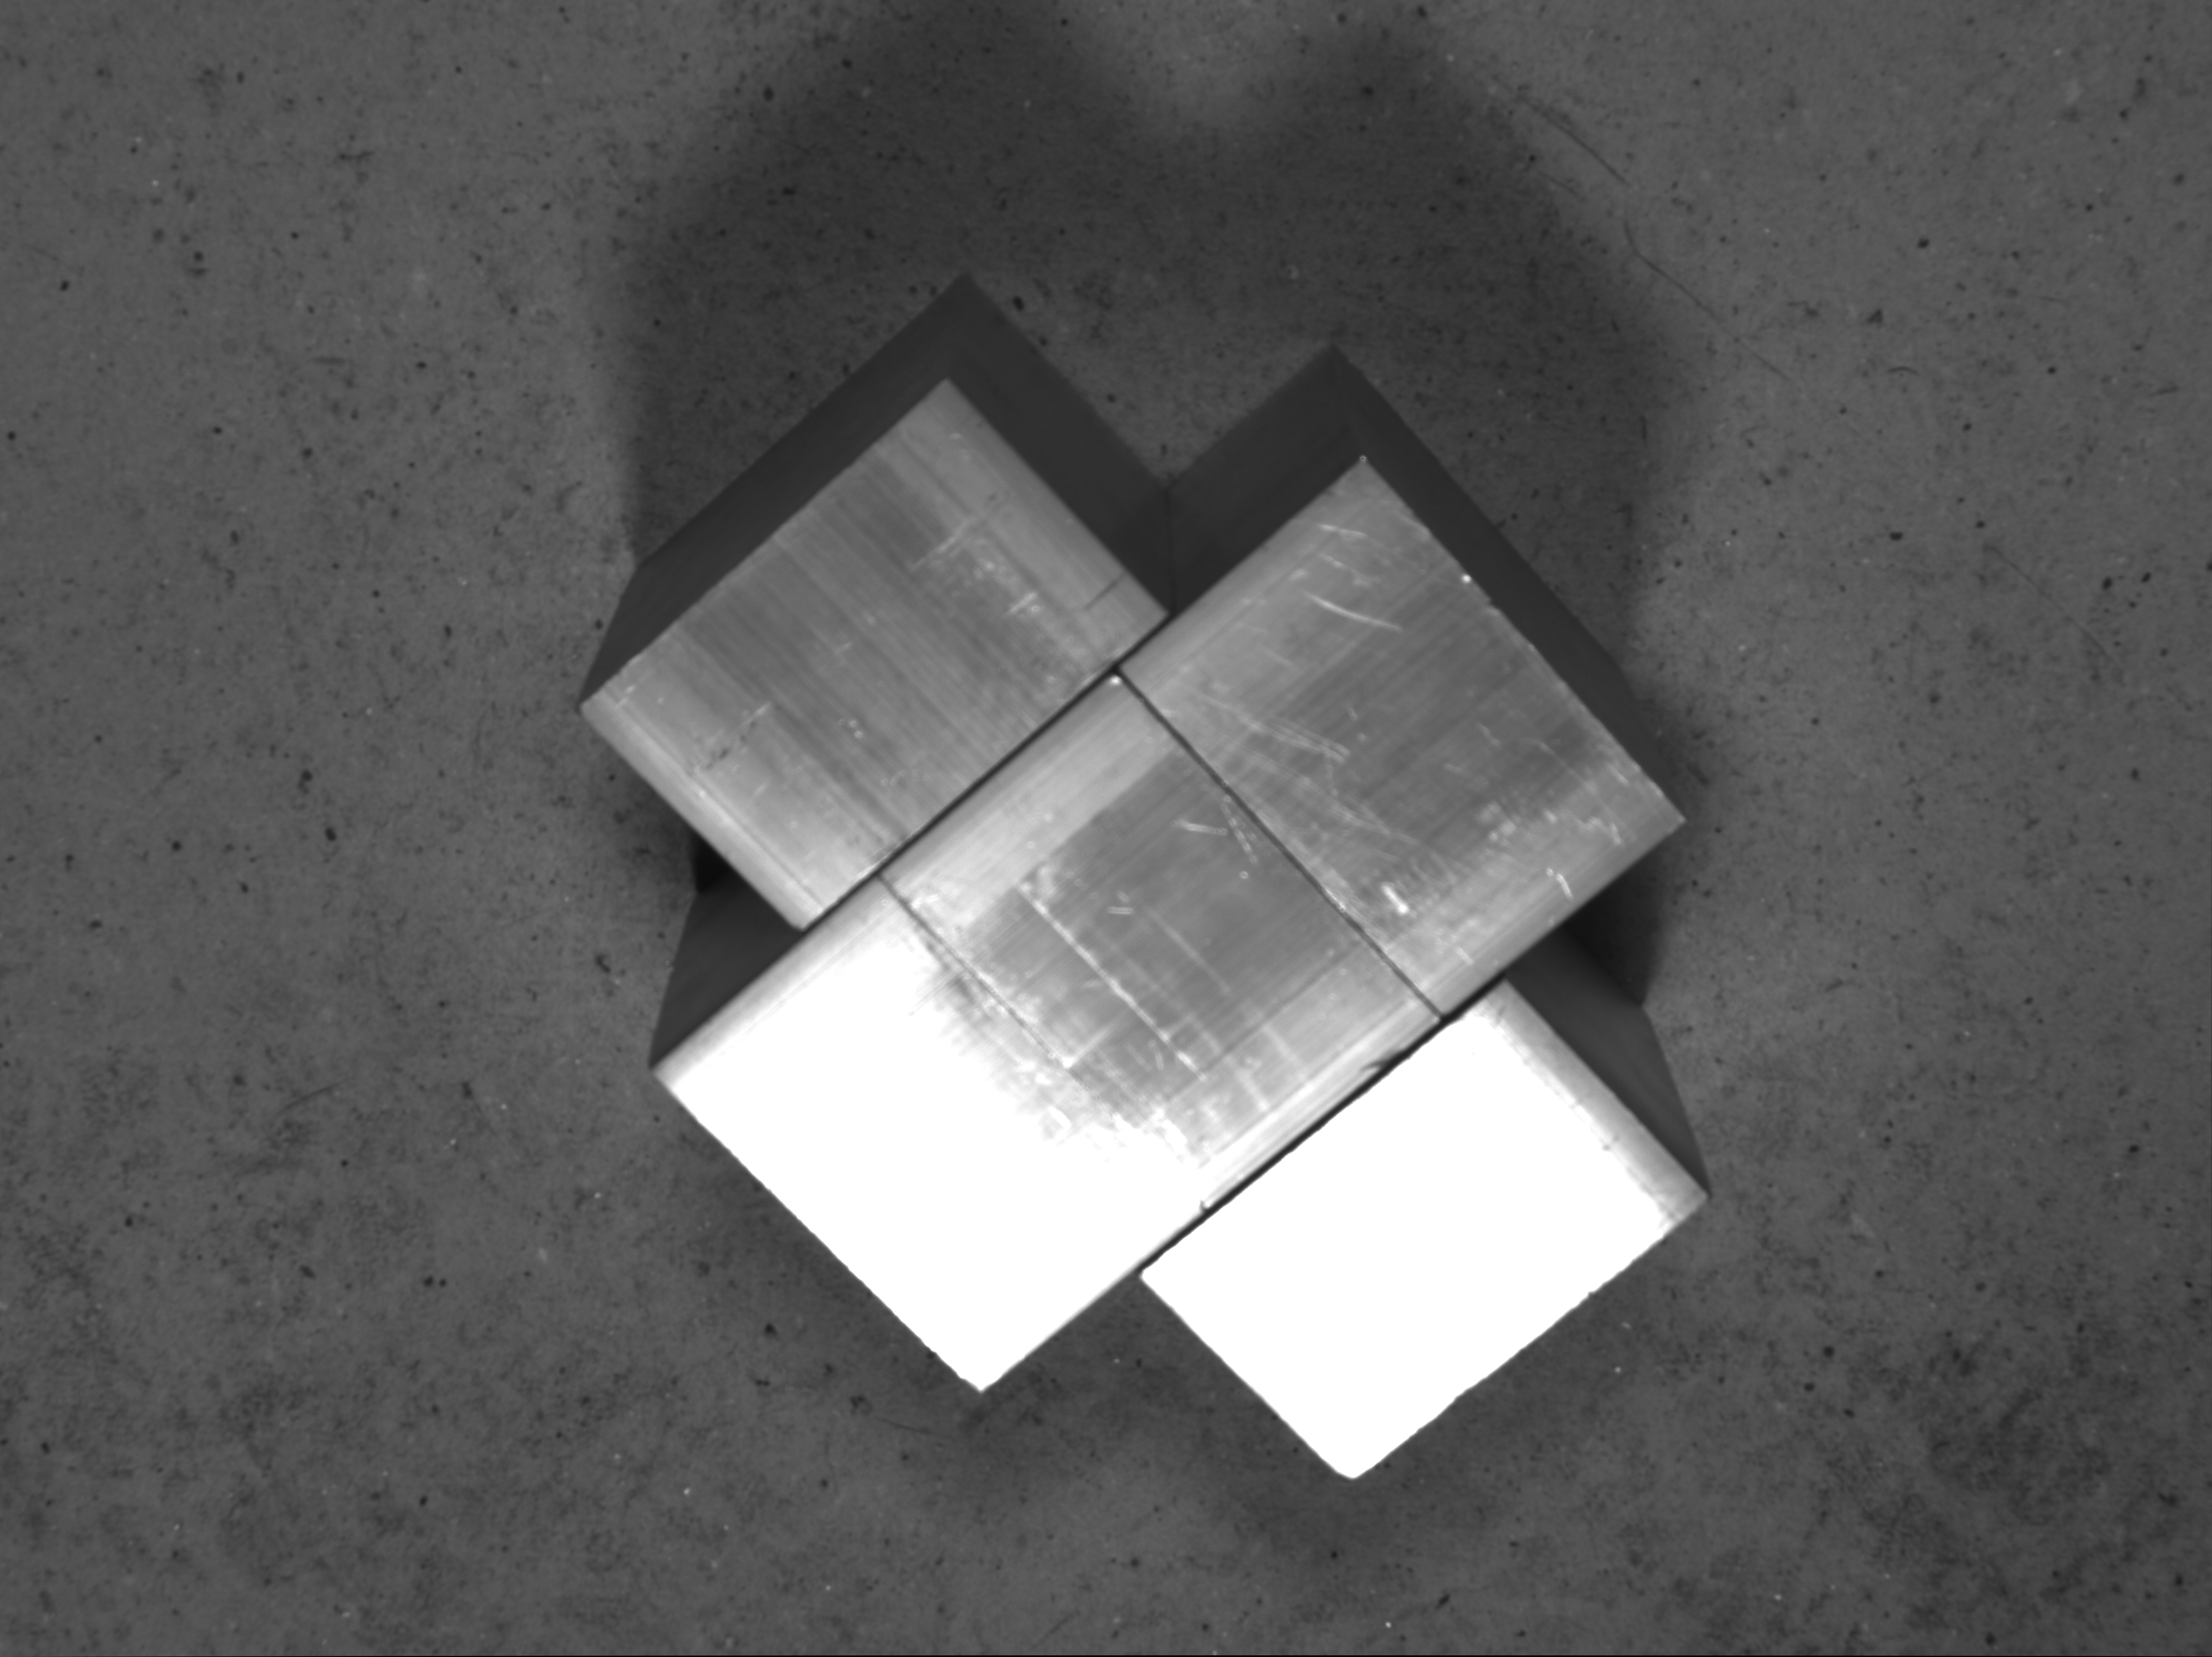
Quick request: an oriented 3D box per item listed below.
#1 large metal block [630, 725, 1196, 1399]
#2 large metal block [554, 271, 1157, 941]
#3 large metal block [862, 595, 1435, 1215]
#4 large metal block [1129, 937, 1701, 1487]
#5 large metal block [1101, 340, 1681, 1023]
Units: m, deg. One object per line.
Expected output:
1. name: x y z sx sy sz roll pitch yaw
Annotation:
1. large metal block: -0.031 0.037 0.628 0.050 0.080 0.080 -40 105 13
2. large metal block: -0.039 -0.038 0.600 0.080 0.080 0.050 -40 105 13
3. large metal block: 0.007 0.006 0.617 0.050 0.080 0.080 -40 105 13
4. large metal block: 0.050 0.054 0.635 0.080 0.080 0.050 -40 105 13
5. large metal block: 0.044 -0.026 0.606 0.050 0.080 0.080 -40 105 13
